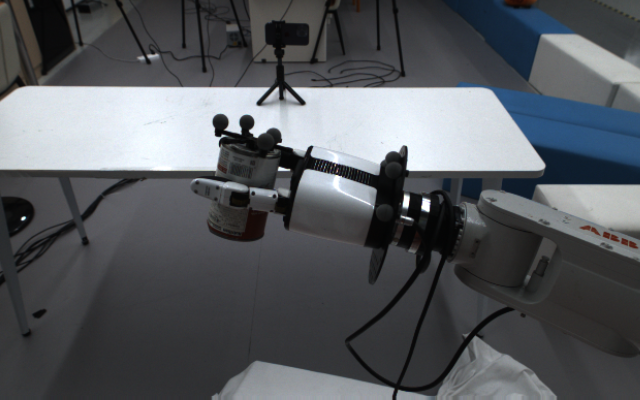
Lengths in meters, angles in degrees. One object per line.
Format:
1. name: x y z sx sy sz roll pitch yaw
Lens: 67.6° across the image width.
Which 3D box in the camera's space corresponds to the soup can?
1. soup can: -0.085 -0.013 0.544 0.067 0.101 0.067 13 18 -4
